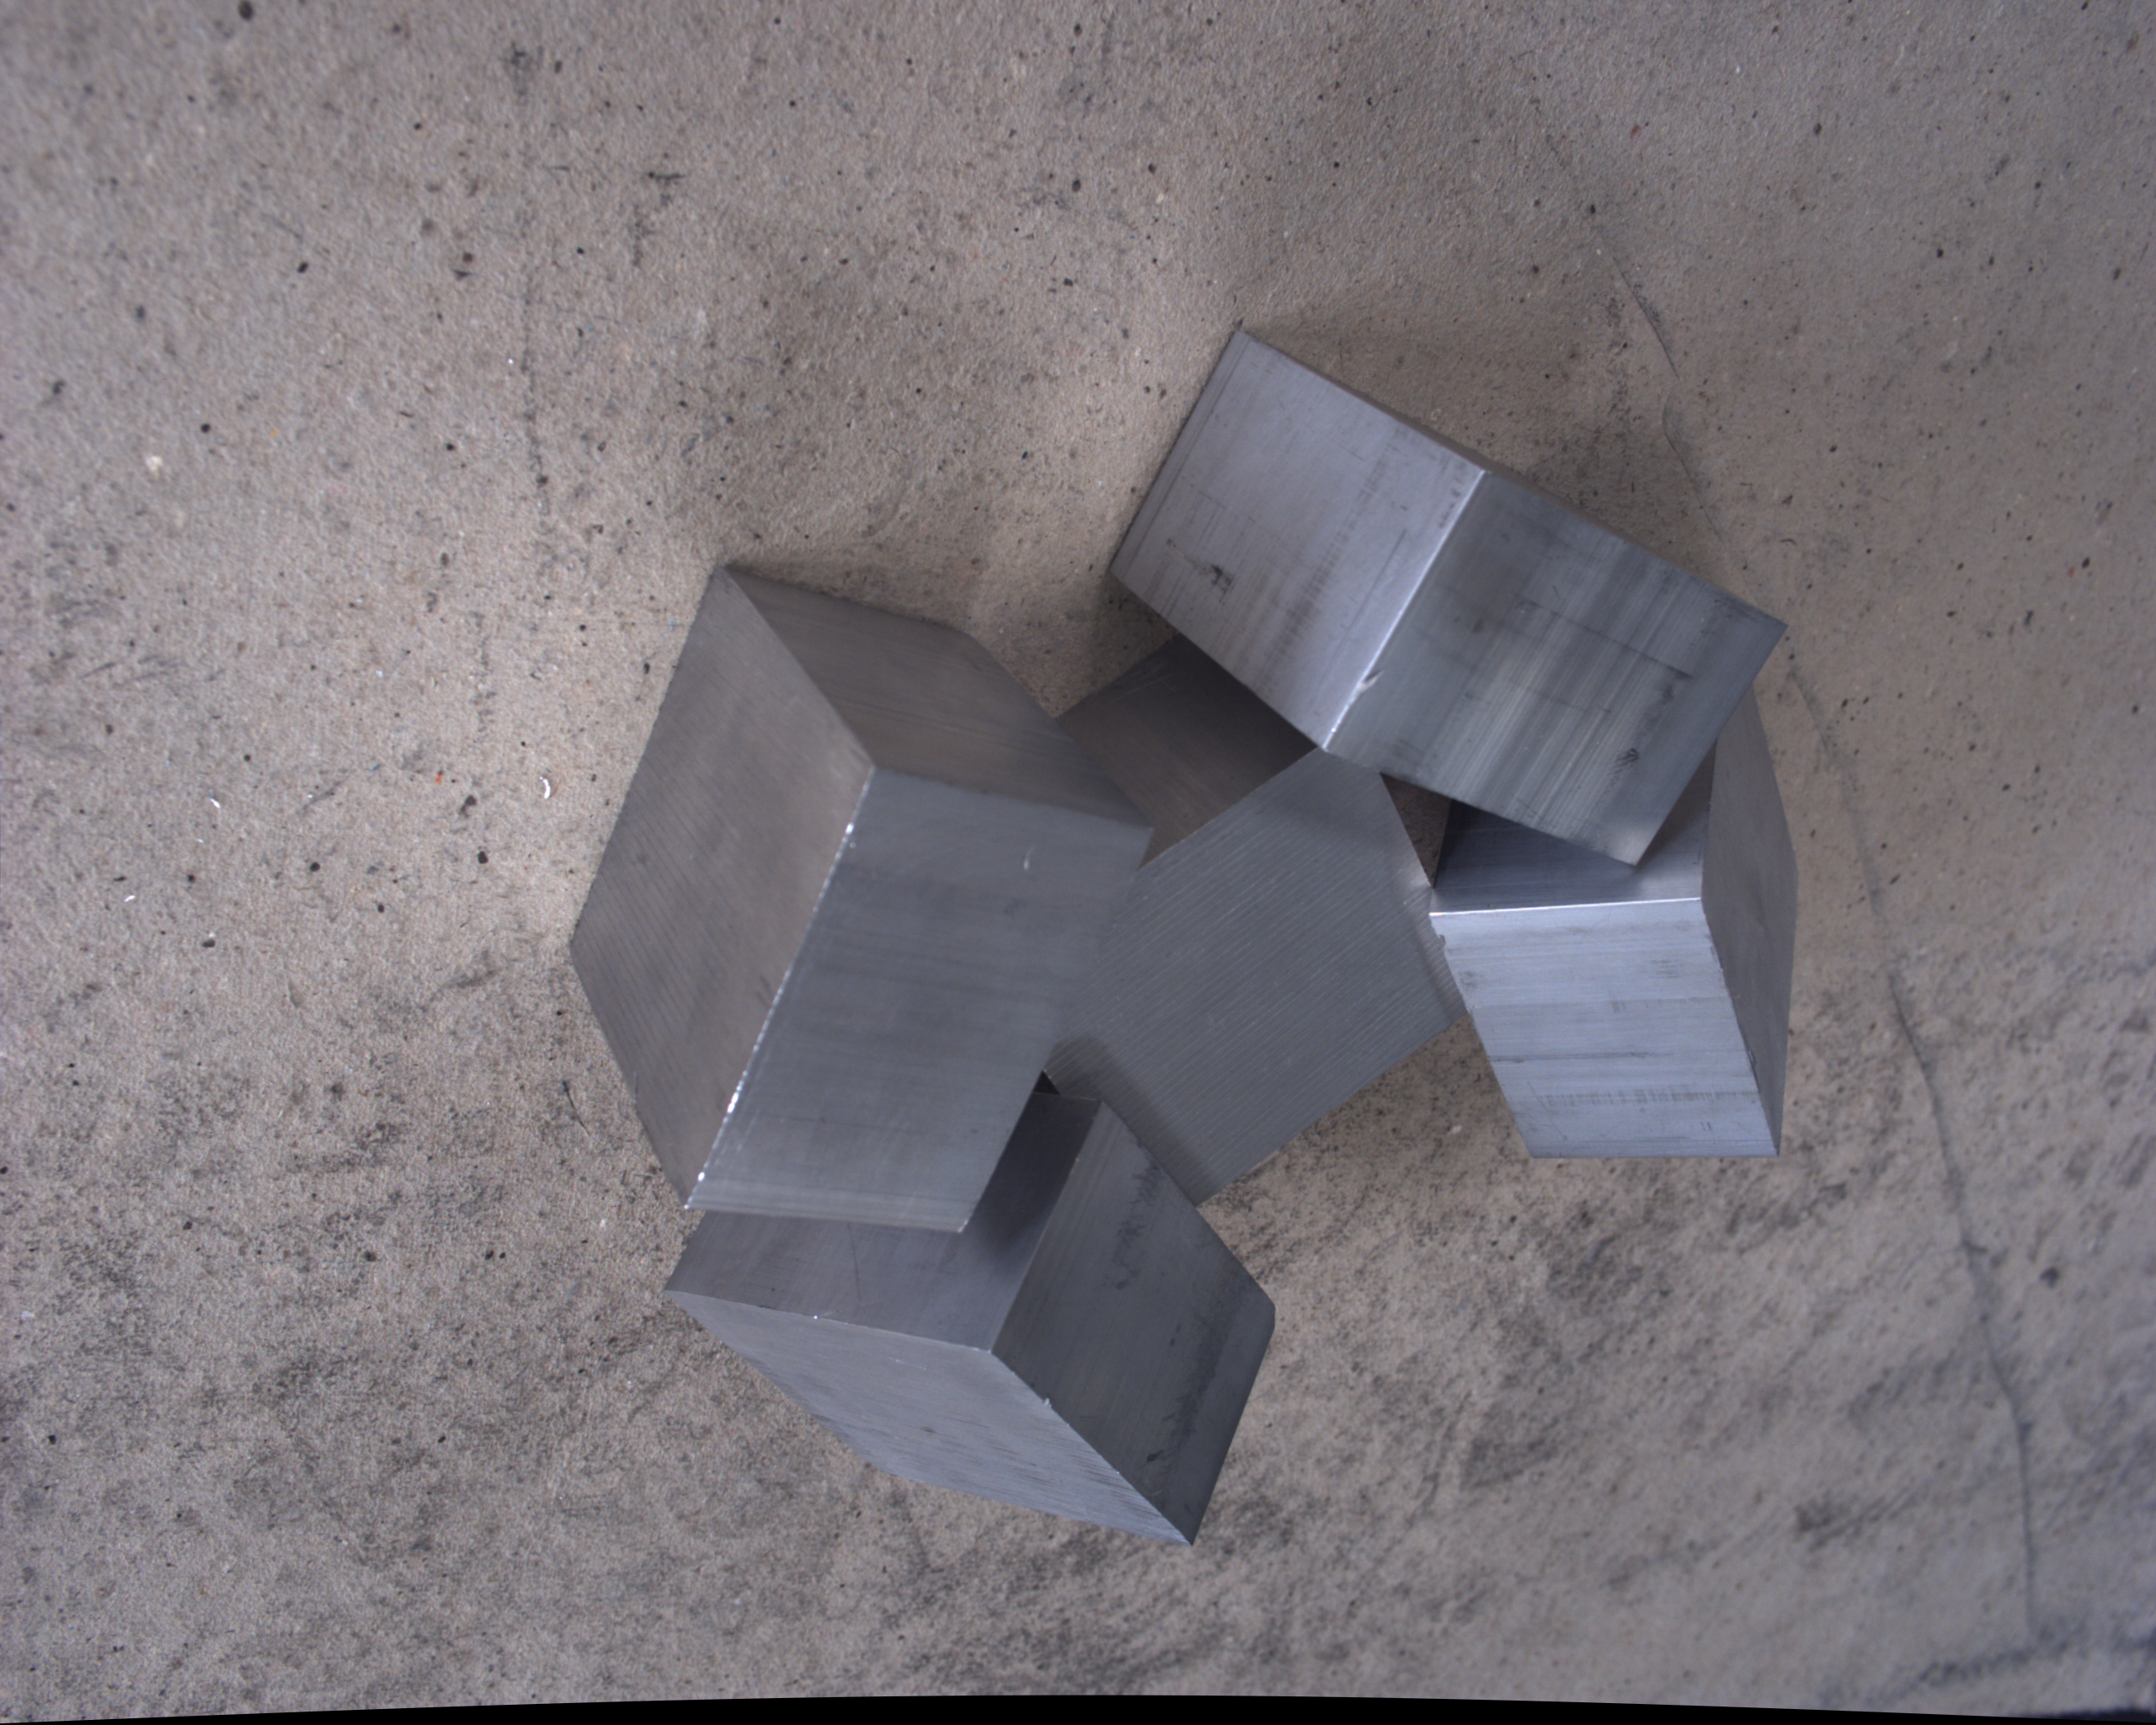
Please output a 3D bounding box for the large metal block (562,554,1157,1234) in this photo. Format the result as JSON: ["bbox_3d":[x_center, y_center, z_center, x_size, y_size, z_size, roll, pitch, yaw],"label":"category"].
[{"bbox_3d":[-0.041,0.005,0.354,0.050,0.080,0.079,12,113,-34],"label":"large metal block"}]

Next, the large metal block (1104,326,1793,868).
[{"bbox_3d":[0.065,-0.048,0.378,0.081,0.080,0.050,17,109,-35],"label":"large metal block"}]

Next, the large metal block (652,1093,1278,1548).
[{"bbox_3d":[-0.020,0.086,0.407,0.080,0.080,0.050,54,50,-39],"label":"large metal block"}]

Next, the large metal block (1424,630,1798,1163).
[{"bbox_3d":[0.113,0.006,0.430,0.050,0.080,0.080,-5,135,28],"label":"large metal block"}]

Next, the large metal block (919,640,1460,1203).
[{"bbox_3d":[0.022,0.012,0.409,0.080,0.050,0.080,-35,130,-5],"label":"large metal block"}]
